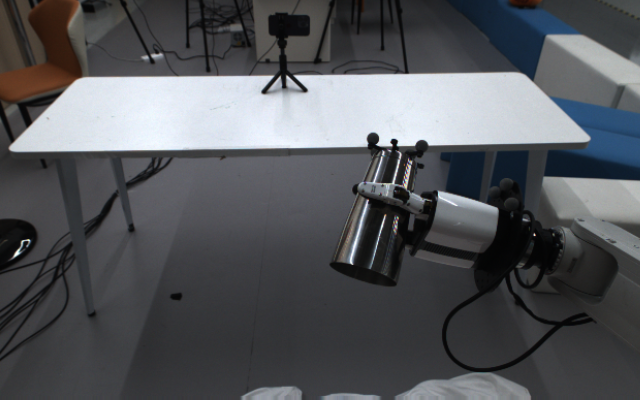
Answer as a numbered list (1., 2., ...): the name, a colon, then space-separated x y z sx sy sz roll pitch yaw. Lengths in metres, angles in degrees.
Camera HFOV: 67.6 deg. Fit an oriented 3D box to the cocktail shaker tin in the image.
1. cocktail shaker tin: 0.080 0.020 0.656 0.093 0.093 0.170 13 70 15
